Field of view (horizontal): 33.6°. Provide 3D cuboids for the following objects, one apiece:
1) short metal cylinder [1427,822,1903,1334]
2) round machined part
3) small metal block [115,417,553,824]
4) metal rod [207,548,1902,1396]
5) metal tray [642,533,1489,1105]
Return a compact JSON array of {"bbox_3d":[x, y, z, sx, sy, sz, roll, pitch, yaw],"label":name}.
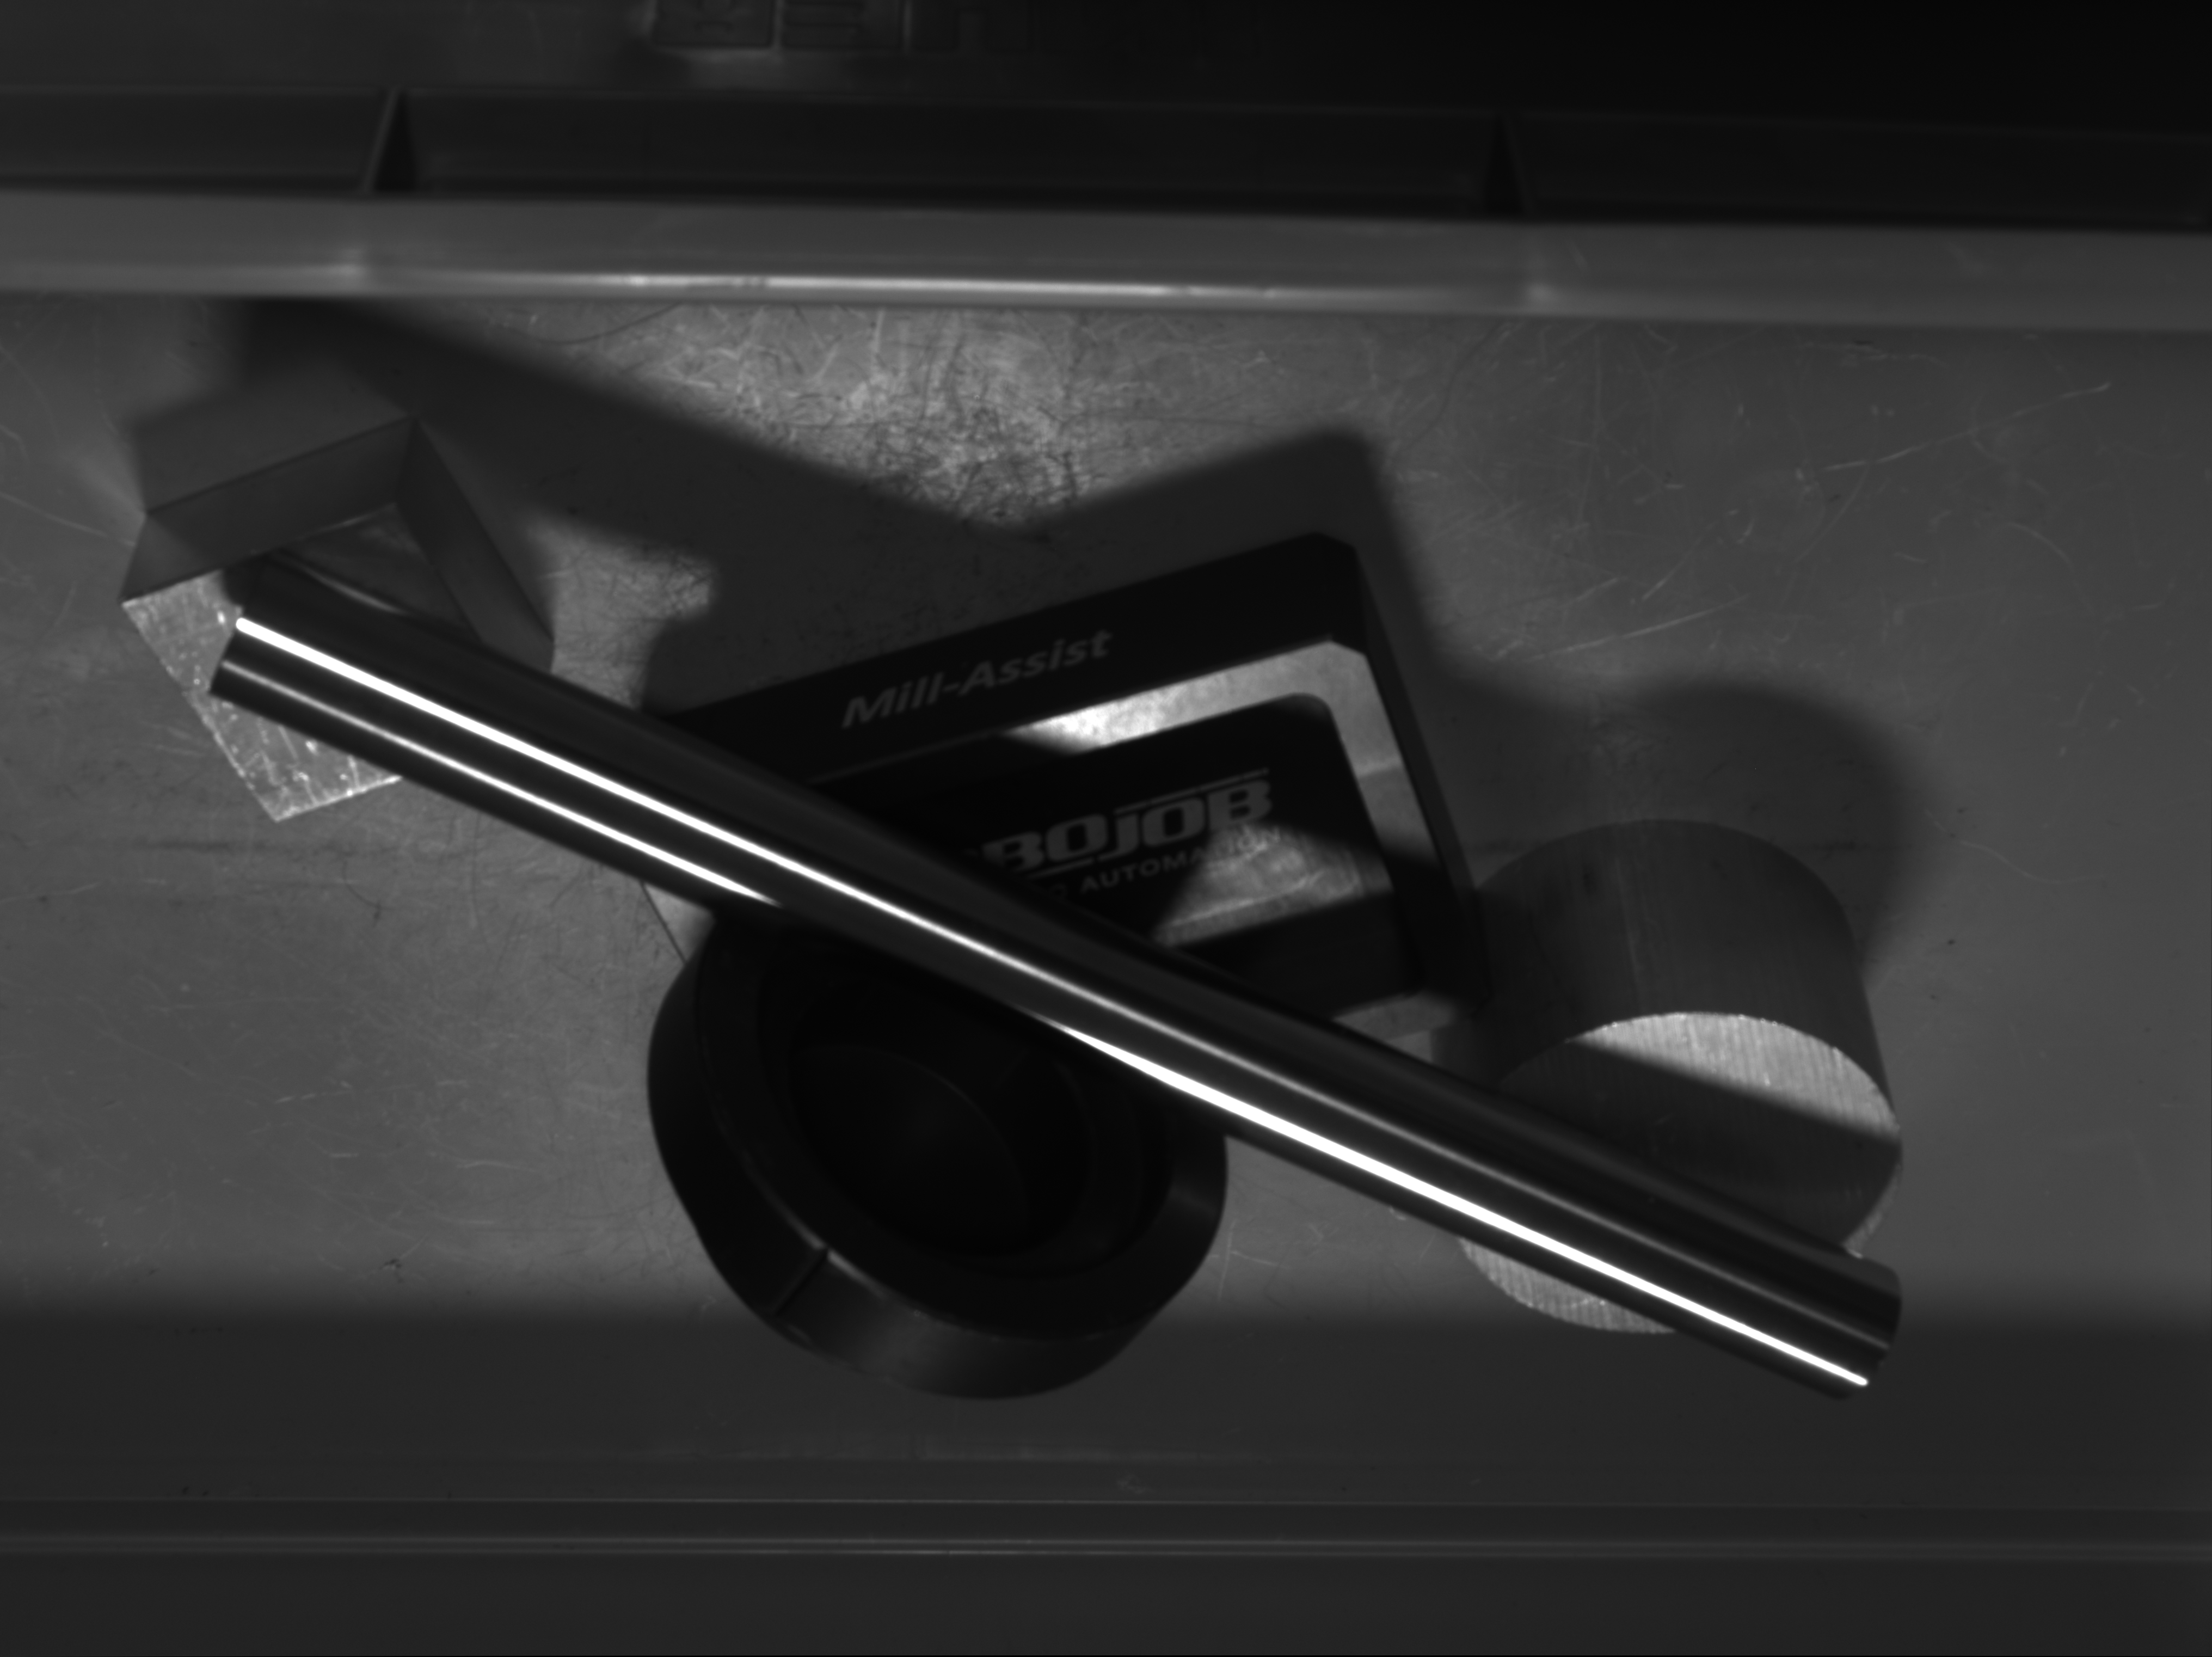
[{"bbox_3d":[0.099,0.046,0.662,0.080,0.050,0.080,-1,130,-1],"label":"short metal cylinder"},{"bbox_3d":[-0.033,0.054,0.616,0.098,0.098,0.042,22,134,-19],"label":"round machined part"},{"bbox_3d":[-0.126,-0.034,0.604,0.050,0.025,0.050,-17,128,12],"label":"small metal block"},{"bbox_3d":[-0.002,0.027,0.606,0.300,0.025,0.025,24,125,-13],"label":"metal rod"},{"bbox_3d":[-0.007,0.007,0.639,0.130,0.030,0.090,-15,129,10],"label":"metal tray"}]
